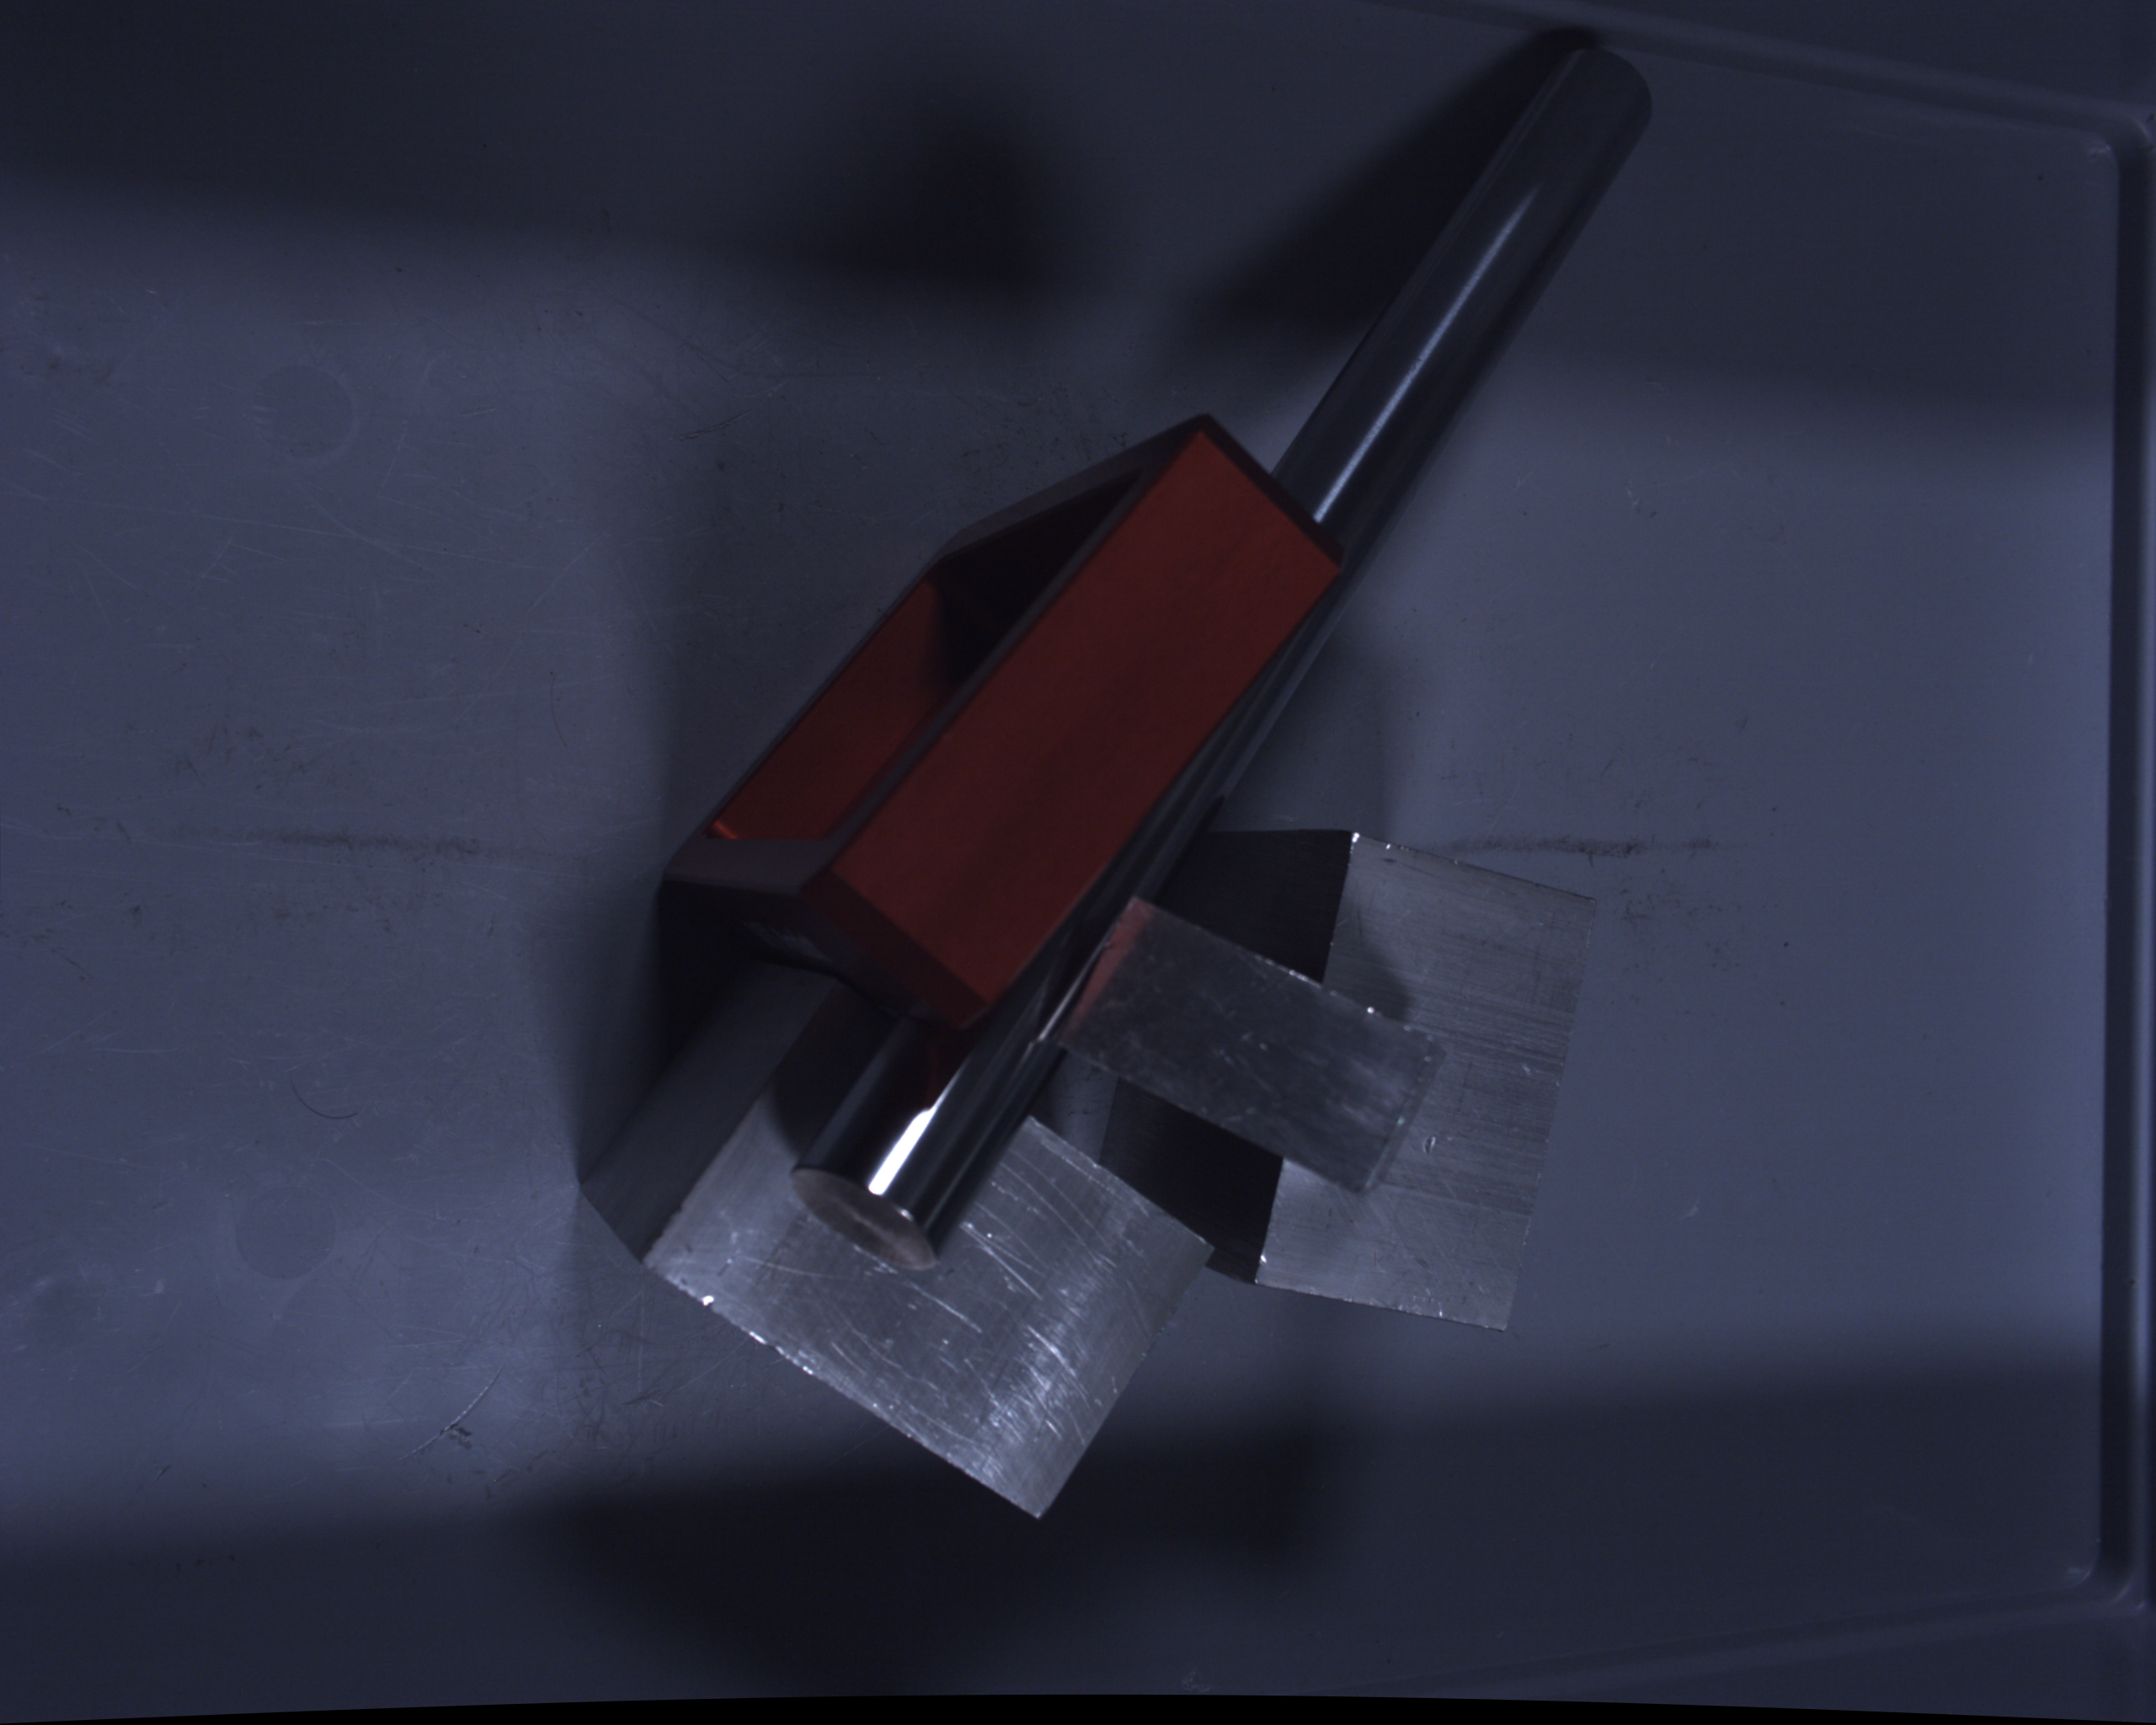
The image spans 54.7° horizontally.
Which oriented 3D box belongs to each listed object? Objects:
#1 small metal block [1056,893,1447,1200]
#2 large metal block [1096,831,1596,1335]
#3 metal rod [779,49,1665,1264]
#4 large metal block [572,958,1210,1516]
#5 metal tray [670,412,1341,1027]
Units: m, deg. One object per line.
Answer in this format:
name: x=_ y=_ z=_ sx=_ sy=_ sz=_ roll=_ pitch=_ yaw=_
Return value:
small metal block: x=0.029 y=0.029 z=0.329 sx=0.050 sy=0.050 sz=0.025 roll=26 pitch=89 yaw=13
large metal block: x=0.047 y=0.039 z=0.400 sx=0.050 sy=0.080 sz=0.080 roll=14 pitch=85 yaw=-20
metal rod: x=0.041 y=-0.057 z=0.377 sx=0.025 sy=0.025 sz=0.301 roll=43 pitch=59 yaw=-15
large metal block: x=-0.036 y=0.062 z=0.369 sx=0.080 sy=0.080 sz=0.050 roll=38 pitch=78 yaw=-17
metal tray: x=-0.019 y=-0.021 z=0.346 sx=0.030 sy=0.130 sz=0.090 roll=42 pitch=78 yaw=-15
